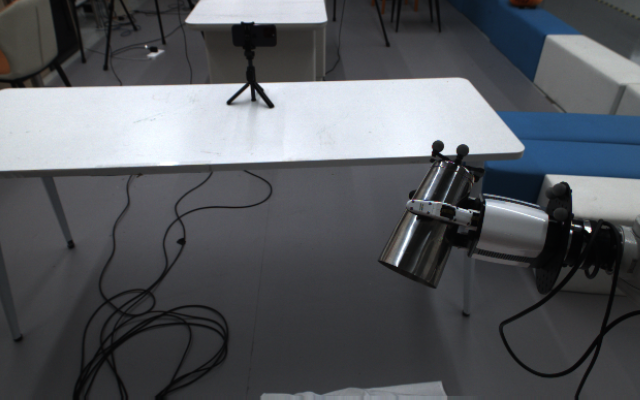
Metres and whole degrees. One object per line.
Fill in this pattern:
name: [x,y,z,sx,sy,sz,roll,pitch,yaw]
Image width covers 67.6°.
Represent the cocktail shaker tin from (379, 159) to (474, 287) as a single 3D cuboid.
cocktail shaker tin: [0.163,0.028,0.704,0.093,0.093,0.170,21,81,25]
